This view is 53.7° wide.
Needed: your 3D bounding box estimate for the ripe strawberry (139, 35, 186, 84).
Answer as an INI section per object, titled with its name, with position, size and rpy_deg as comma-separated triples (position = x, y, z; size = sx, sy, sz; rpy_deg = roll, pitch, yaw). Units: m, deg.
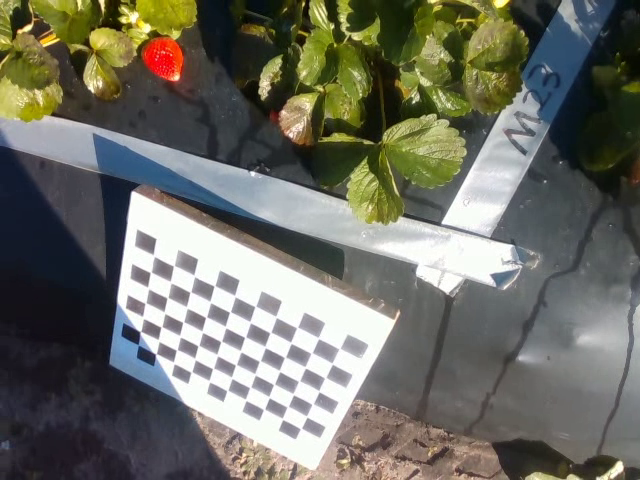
[ripe strawberry]
position = -0.160, -0.184, 0.650
size = 0.046, 0.058, 0.042
rpy_deg = -35, -6, 35
